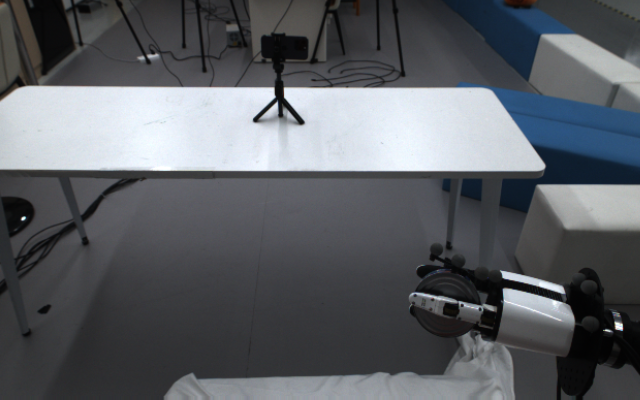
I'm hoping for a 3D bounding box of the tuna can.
[{"bbox_3d":[0.170,0.133,0.636,0.085,0.085,0.034,13,2,16],"label":"tuna can"}]
